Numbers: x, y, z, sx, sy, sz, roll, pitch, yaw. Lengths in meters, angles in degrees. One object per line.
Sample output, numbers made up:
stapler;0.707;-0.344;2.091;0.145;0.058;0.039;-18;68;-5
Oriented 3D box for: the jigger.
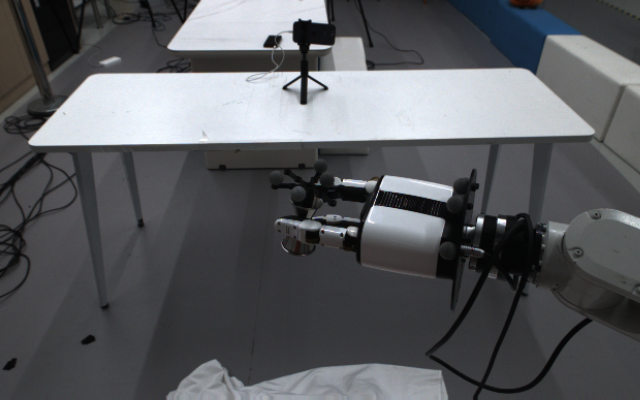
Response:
jigger;-0.021;0.028;0.590;0.043;0.071;0.043;9;30;-5
